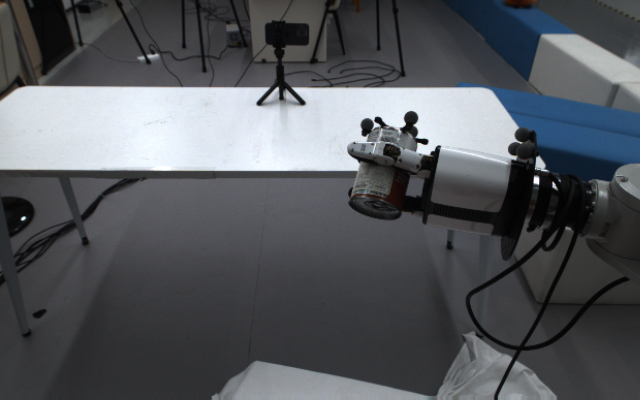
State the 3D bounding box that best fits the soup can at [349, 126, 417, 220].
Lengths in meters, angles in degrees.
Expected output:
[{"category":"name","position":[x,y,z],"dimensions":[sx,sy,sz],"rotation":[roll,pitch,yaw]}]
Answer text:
[{"category":"soup can","position":[0.083,-0.035,0.619],"dimensions":[0.067,0.067,0.101],"rotation":[12,70,14]}]
